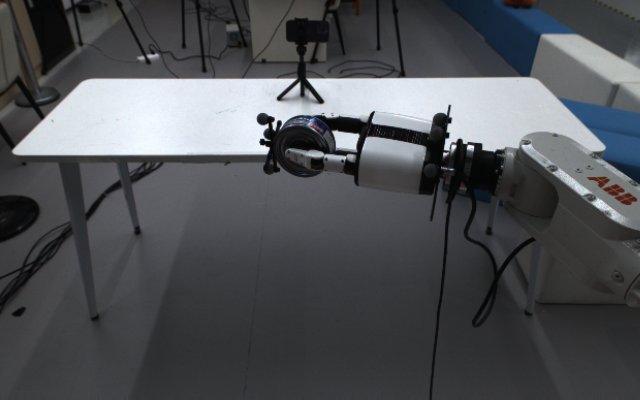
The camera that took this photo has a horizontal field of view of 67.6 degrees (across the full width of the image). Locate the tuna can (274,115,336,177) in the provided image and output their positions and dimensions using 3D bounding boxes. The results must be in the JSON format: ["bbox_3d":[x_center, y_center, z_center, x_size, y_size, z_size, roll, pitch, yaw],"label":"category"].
[{"bbox_3d":[-0.022,-0.078,0.695,0.085,0.085,0.034,9,33,10],"label":"tuna can"}]
